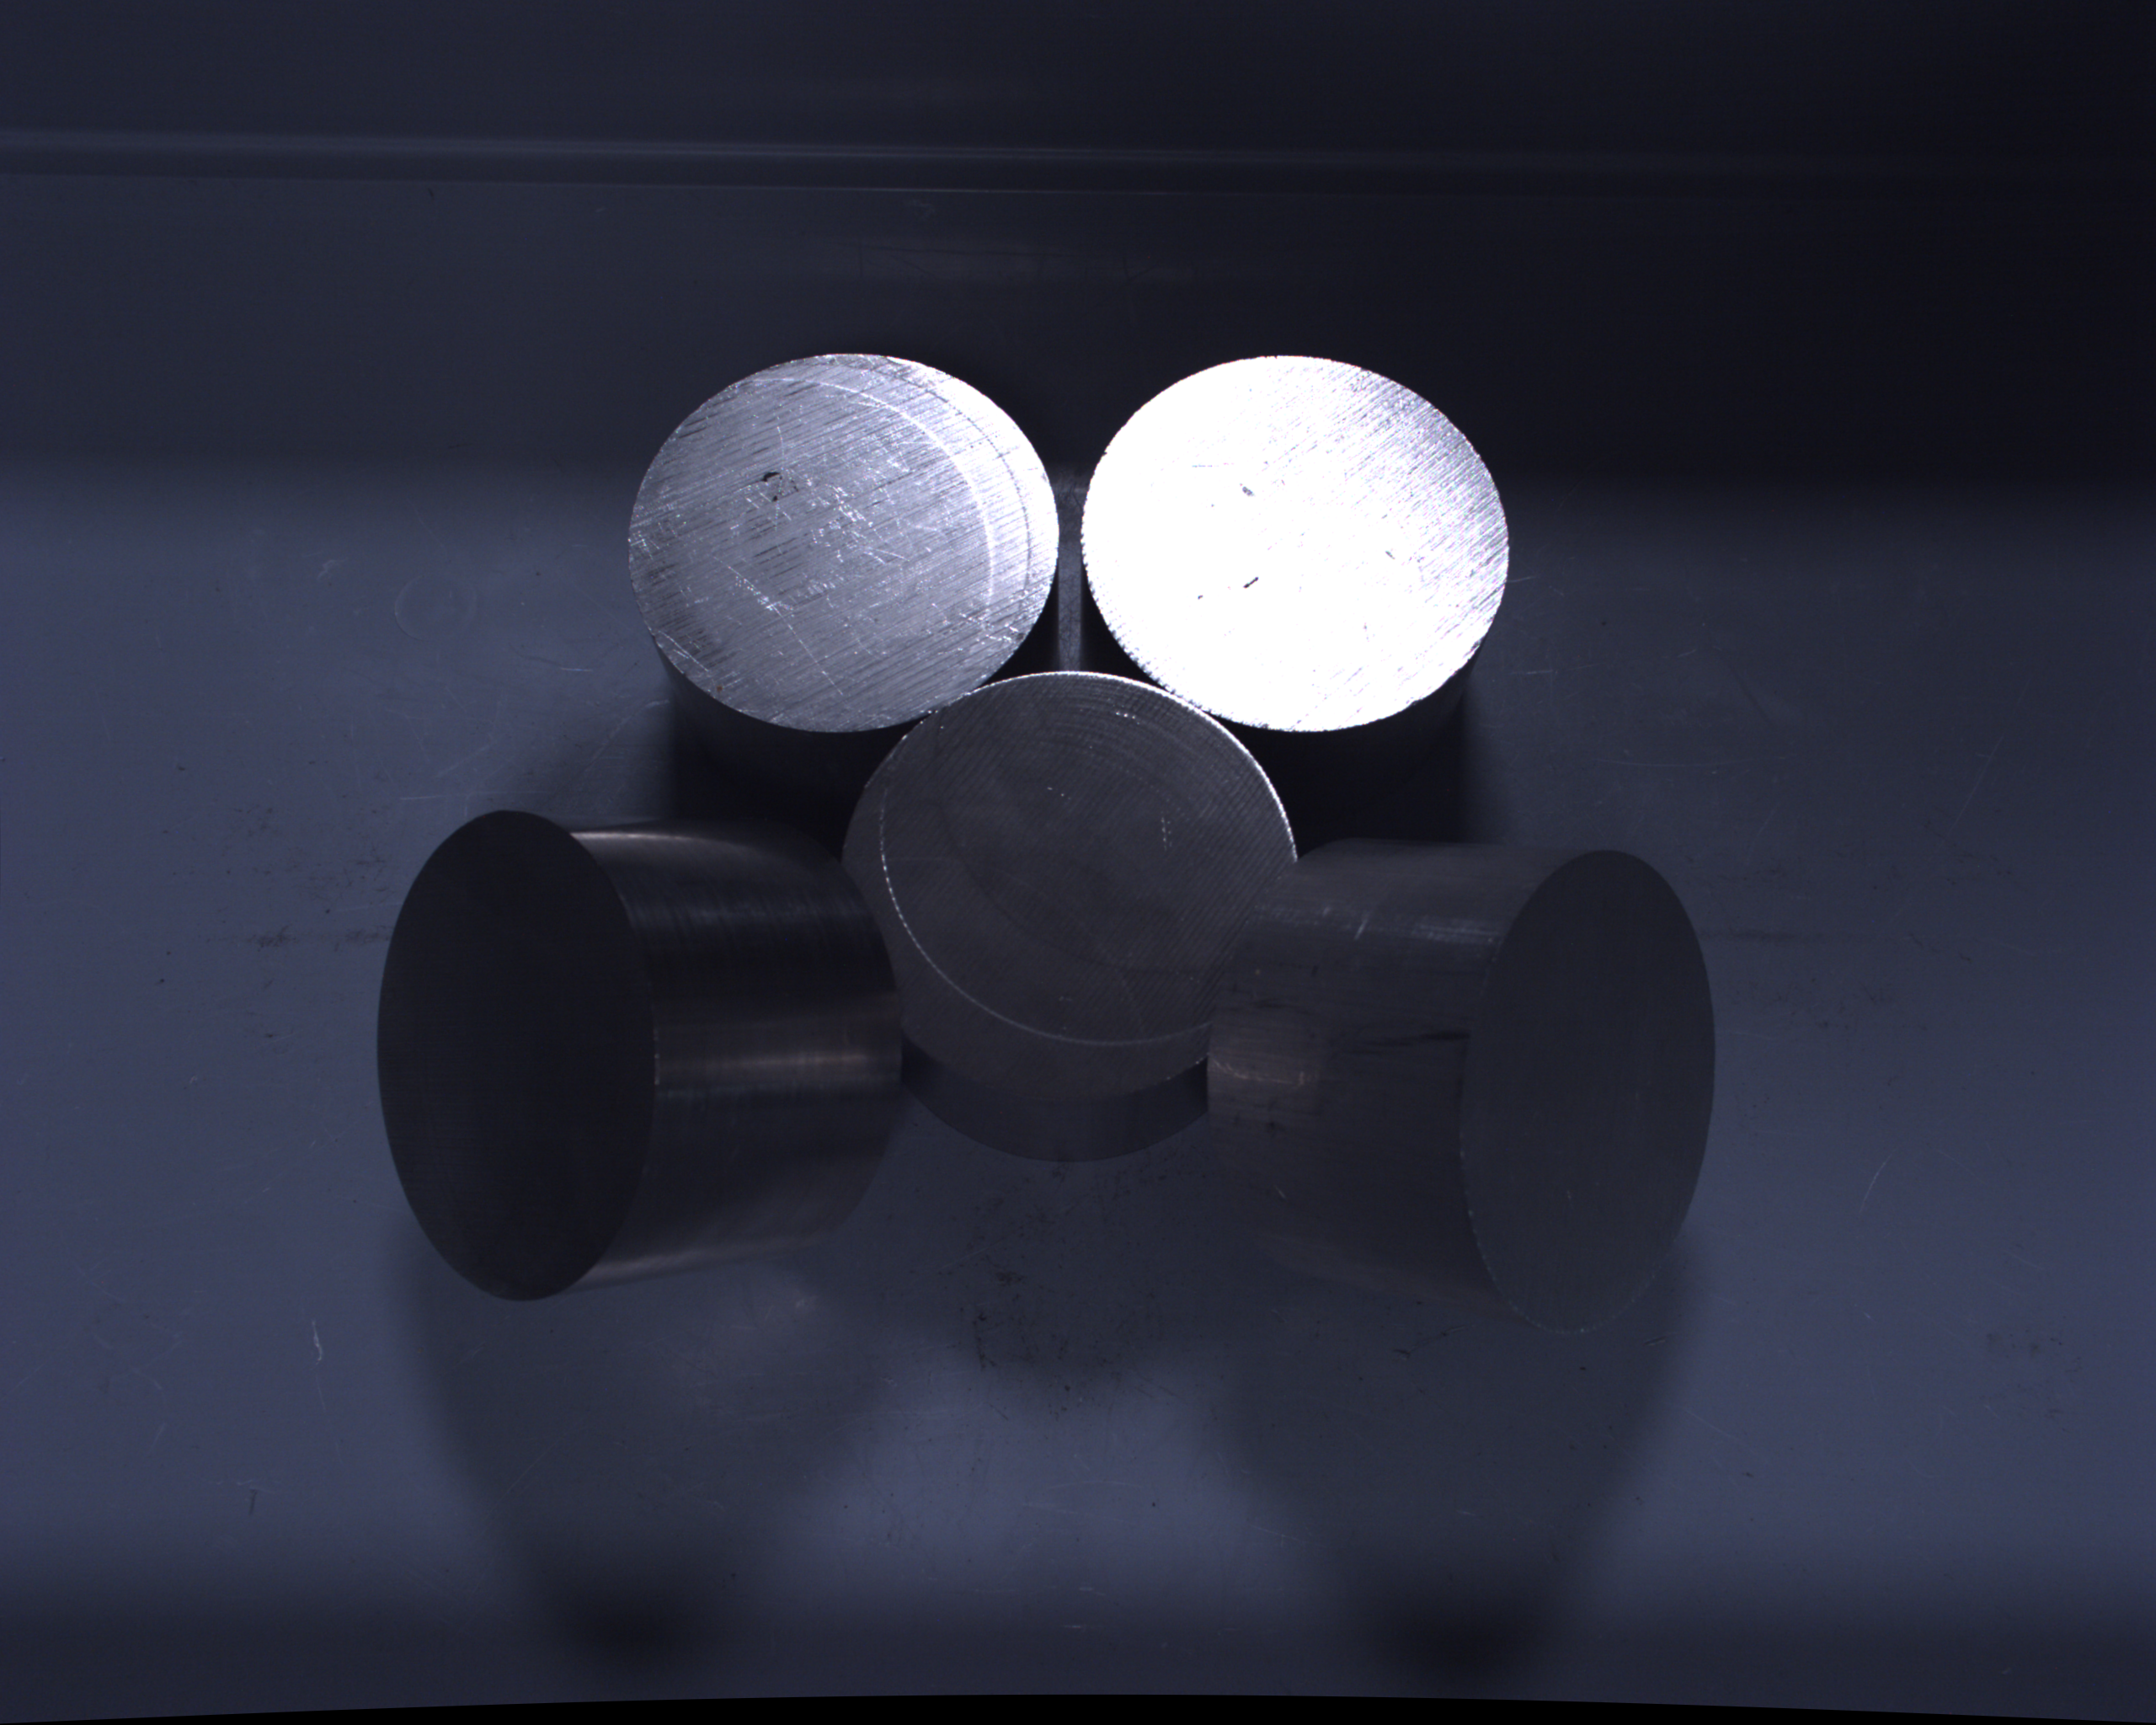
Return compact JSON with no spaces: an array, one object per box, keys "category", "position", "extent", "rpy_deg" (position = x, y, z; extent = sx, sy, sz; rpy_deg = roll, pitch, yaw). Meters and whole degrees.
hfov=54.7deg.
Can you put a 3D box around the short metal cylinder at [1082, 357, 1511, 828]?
[{"category":"short metal cylinder","position":[0.041,-0.052,0.415],"extent":[0.081,0.050,0.080],"rpy_deg":[0,70,0]}]

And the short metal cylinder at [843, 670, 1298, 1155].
[{"category":"short metal cylinder","position":[-0.001,0.011,0.389],"extent":[0.081,0.050,0.080],"rpy_deg":[0,70,0]}]

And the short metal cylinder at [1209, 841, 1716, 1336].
[{"category":"short metal cylinder","position":[0.068,0.037,0.359],"extent":[0.050,0.080,0.080],"rpy_deg":[3,64,43]}]

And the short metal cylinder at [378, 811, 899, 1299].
[{"category":"short metal cylinder","position":[-0.077,0.032,0.360],"extent":[0.050,0.080,0.080],"rpy_deg":[1,62,-48]}]

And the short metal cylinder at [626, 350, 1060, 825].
[{"category":"short metal cylinder","position":[-0.044,-0.053,0.413],"extent":[0.081,0.050,0.080],"rpy_deg":[0,70,0]}]
